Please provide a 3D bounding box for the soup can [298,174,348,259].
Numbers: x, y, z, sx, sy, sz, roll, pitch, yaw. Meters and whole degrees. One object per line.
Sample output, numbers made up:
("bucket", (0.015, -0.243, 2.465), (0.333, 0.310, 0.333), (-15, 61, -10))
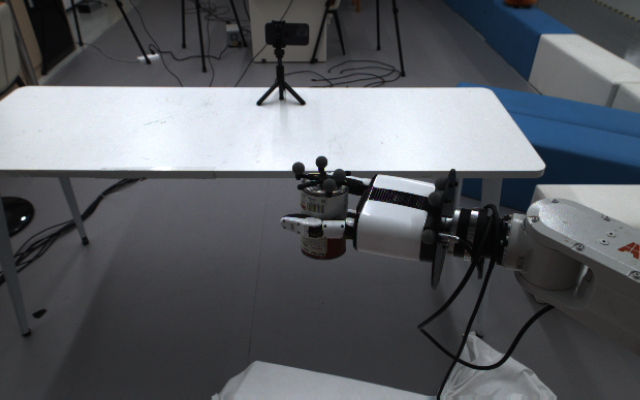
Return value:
("soup can", (0.006, 0.024, 0.677), (0.067, 0.101, 0.067), (1, 26, 0))
